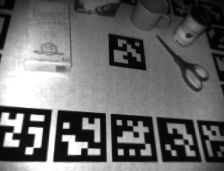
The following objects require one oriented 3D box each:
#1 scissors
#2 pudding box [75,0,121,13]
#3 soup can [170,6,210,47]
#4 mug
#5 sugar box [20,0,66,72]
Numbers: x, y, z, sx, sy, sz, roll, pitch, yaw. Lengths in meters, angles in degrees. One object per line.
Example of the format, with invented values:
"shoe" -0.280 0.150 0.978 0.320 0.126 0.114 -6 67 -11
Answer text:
"scissors" 0.191 -0.071 0.611 0.088 0.016 0.202 -39 85 -19
"pudding box" -0.033 -0.233 0.562 0.115 0.089 0.038 -3 74 -20
"soup can" 0.221 -0.169 0.626 0.068 0.102 0.067 7 63 -14
"mug" 0.109 -0.216 0.611 0.094 0.081 0.116 -32 78 -25
"sugar box" -0.154 -0.118 0.502 0.093 0.045 0.176 3 68 -16
